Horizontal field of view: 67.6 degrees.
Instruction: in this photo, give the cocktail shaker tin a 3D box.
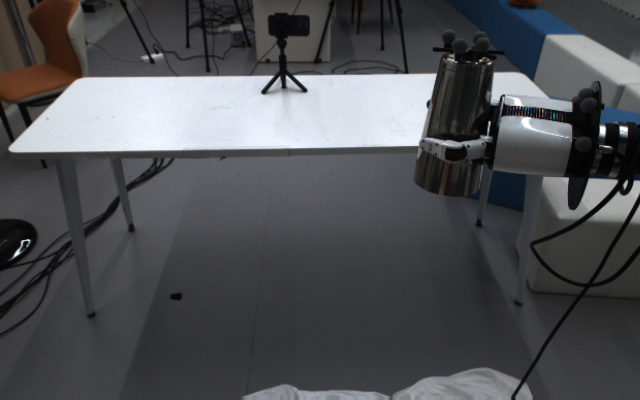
[{"bbox_3d":[0.182,-0.102,0.641,0.093,0.170,0.093,2,28,-1],"label":"cocktail shaker tin"}]
